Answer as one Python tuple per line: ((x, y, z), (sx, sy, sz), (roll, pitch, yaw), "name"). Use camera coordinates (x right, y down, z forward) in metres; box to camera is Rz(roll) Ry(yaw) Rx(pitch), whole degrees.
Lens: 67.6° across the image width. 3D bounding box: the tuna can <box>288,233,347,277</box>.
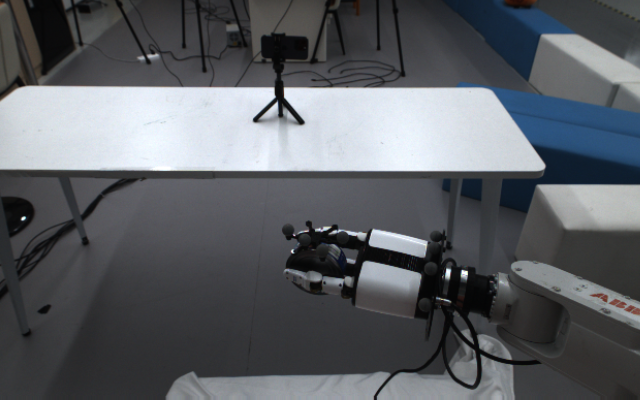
((-0.003, 0.095, 0.708), (0.085, 0.085, 0.034), (10, 34, 12), "tuna can")
